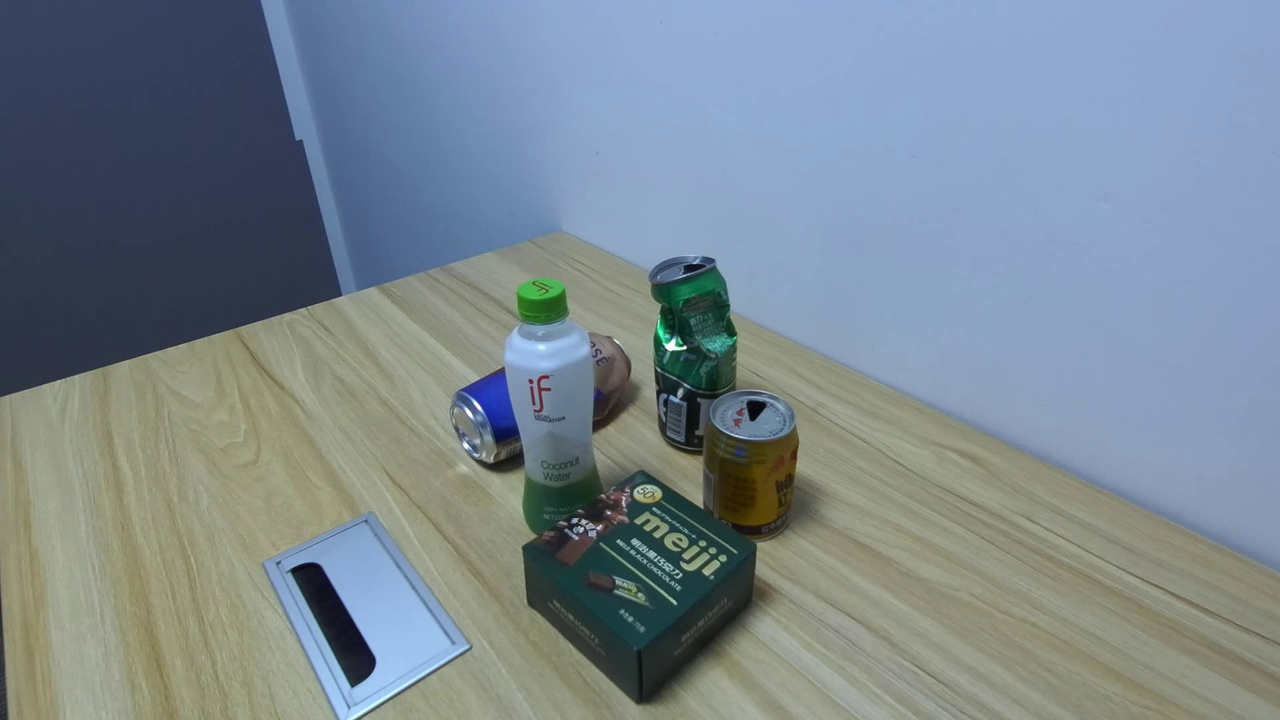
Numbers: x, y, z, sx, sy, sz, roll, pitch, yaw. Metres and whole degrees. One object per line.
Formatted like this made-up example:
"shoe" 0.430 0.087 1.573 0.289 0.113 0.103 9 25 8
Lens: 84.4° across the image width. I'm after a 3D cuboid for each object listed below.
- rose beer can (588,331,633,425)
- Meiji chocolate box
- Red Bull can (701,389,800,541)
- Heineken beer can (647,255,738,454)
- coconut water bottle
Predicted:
"rose beer can" -0.084 0.029 0.632 0.168 0.069 0.069 -27 25 -37
"Meiji chocolate box" 0.000 0.138 0.454 0.109 0.056 0.109 -28 40 -36
"Red Bull can" 0.079 0.076 0.510 0.069 0.092 0.069 0 31 1
"Heineken beer can" 0.047 -0.003 0.581 0.078 0.159 0.067 5 27 25
"coconut water bottle" -0.060 0.036 0.492 0.063 0.189 0.063 -2 31 1
